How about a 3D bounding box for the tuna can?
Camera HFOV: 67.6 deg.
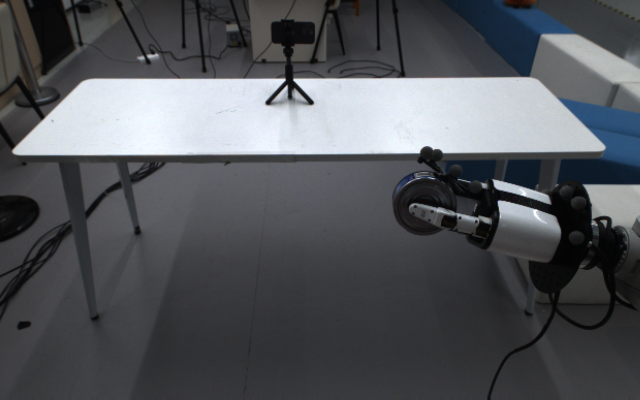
[{"bbox_3d":[0.146,0.011,0.661,0.085,0.085,0.034,7,19,6],"label":"tuna can"}]
